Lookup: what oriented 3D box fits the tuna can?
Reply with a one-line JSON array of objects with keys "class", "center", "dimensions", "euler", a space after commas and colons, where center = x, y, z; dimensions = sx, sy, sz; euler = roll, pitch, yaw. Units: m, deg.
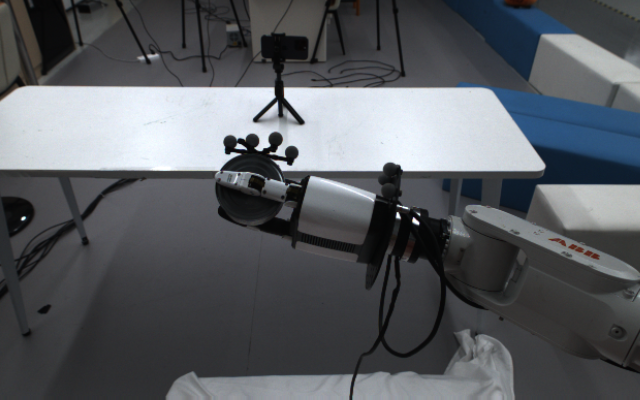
[{"class": "tuna can", "center": [-0.085, -0.013, 0.603], "dimensions": [0.085, 0.034, 0.085], "euler": [1, 73, -3]}]
